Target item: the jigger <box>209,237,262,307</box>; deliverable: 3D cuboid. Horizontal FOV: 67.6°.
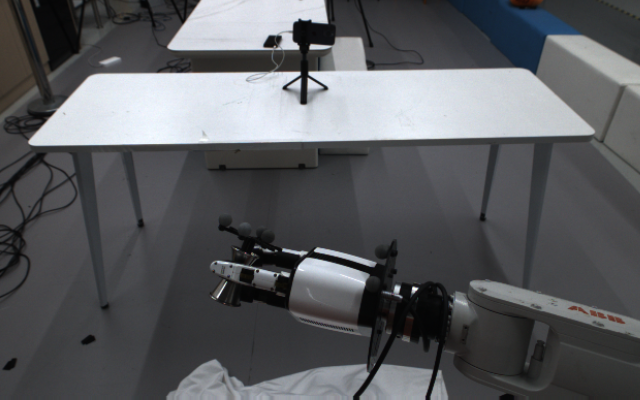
[{"bbox_3d":[-0.109,0.094,0.613,0.043,0.071,0.043,24,-2,1],"label":"jigger"}]
